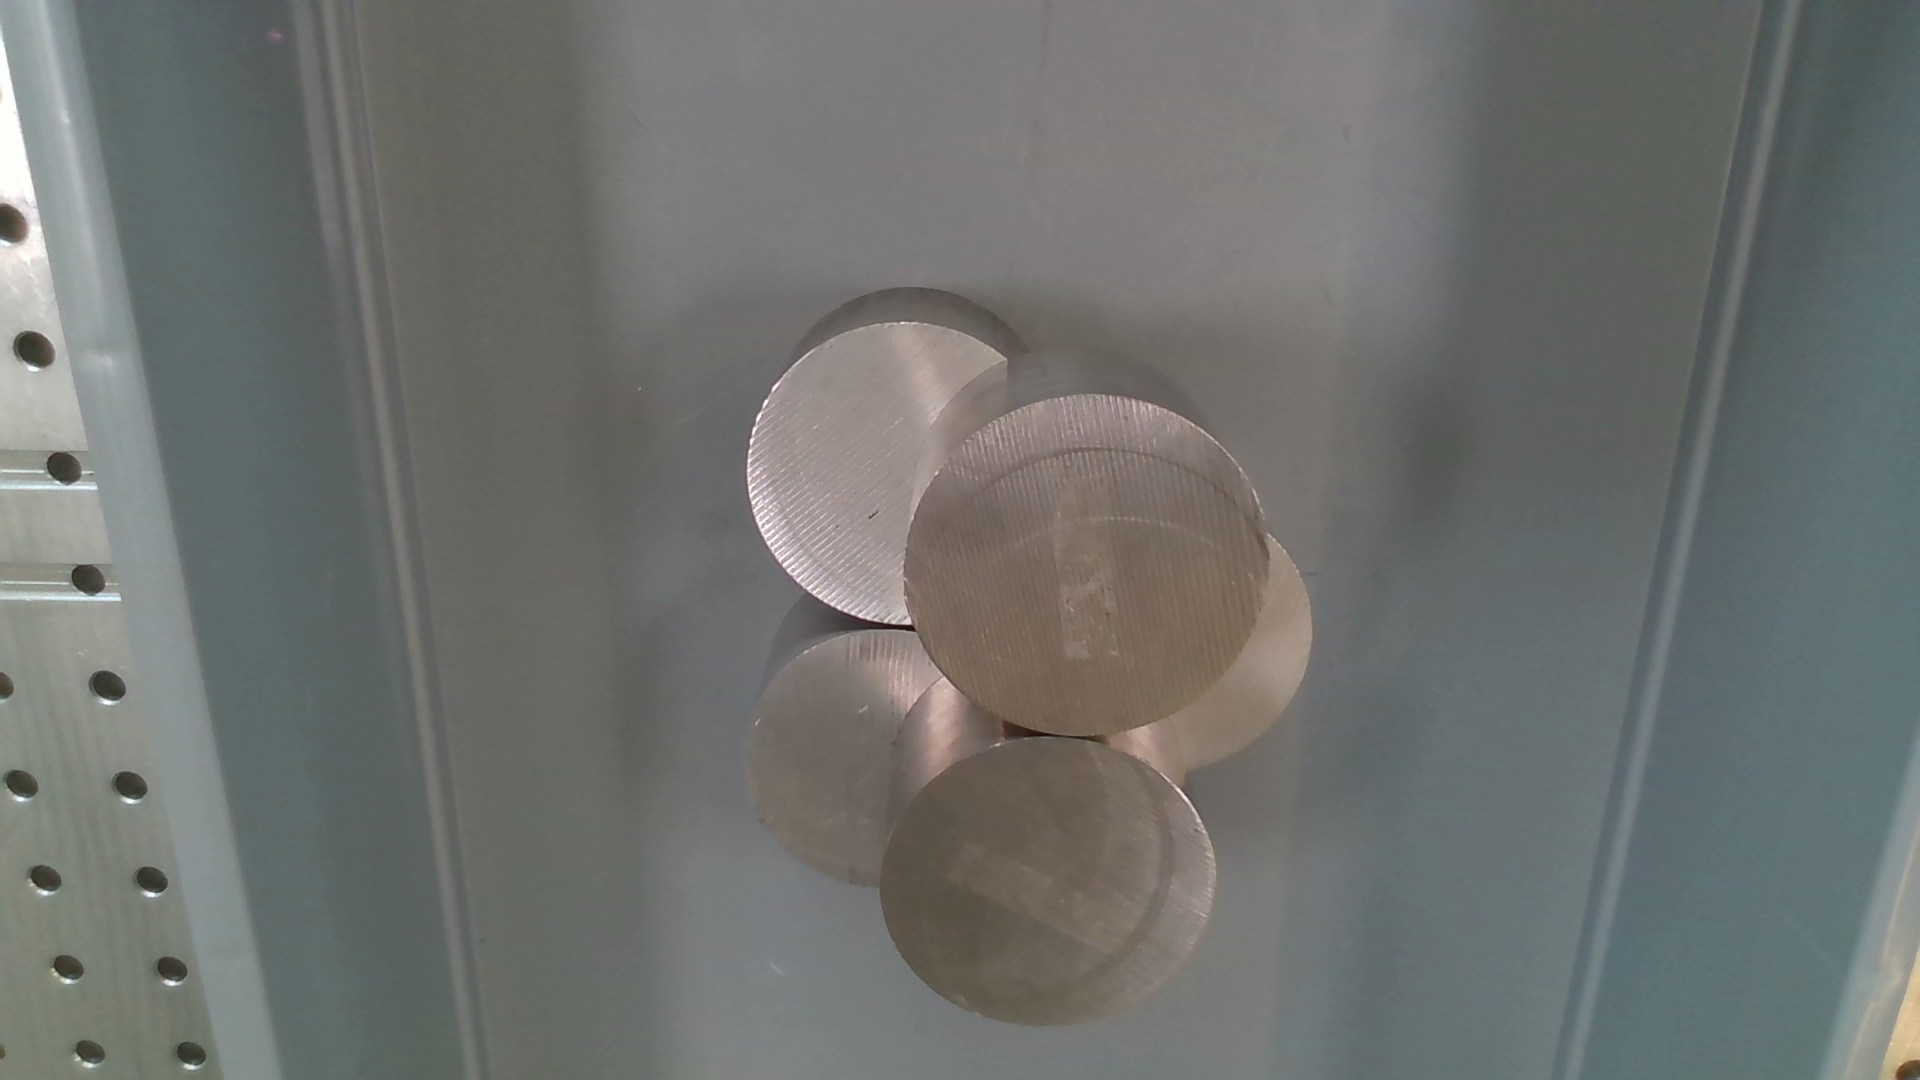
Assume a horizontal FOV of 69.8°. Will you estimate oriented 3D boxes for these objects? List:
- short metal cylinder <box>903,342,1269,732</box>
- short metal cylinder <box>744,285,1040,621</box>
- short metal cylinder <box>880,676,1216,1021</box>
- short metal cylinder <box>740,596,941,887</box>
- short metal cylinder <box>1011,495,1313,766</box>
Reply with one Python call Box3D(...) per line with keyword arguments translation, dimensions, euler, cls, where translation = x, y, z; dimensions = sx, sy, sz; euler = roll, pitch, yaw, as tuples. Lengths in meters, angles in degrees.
Box3D(translation=(0.028, -0.002, 0.325), dimensions=(0.080, 0.050, 0.080), euler=(0, 110, 0), cls="short metal cylinder")
Box3D(translation=(-0.014, -0.025, 0.370), dimensions=(0.080, 0.050, 0.080), euler=(0, 110, 0), cls="short metal cylinder")
Box3D(translation=(0.021, 0.074, 0.352), dimensions=(0.080, 0.050, 0.080), euler=(0, 110, 0), cls="short metal cylinder")
Box3D(translation=(-0.020, 0.052, 0.398), dimensions=(0.080, 0.050, 0.080), euler=(0, 110, 0), cls="short metal cylinder")
Box3D(translation=(0.053, 0.017, 0.385), dimensions=(0.080, 0.050, 0.080), euler=(0, 110, 0), cls="short metal cylinder")
